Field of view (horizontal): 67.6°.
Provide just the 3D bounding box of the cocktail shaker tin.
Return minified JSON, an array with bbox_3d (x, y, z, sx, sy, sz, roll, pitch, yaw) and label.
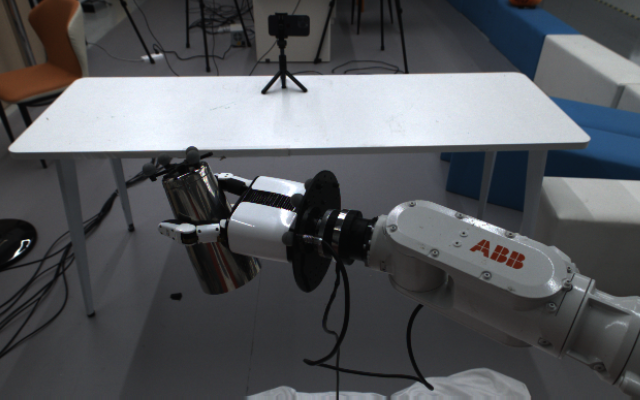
[{"bbox_3d":[-0.155,0.036,0.677,0.093,0.170,0.093,-17,21,7],"label":"cocktail shaker tin"}]
